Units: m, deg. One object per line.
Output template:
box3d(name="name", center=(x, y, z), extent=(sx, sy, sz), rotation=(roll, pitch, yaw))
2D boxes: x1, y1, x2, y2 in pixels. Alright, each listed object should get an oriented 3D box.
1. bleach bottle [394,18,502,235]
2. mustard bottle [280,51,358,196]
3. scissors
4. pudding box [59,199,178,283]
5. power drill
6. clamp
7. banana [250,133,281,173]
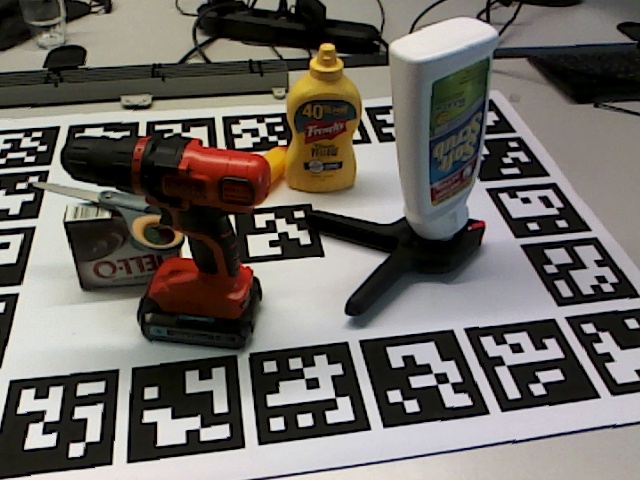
box3d(name="bleach bottle", center=(0.132, -0.097, 0.665), extent=(0.102, 0.250, 0.068), rotation=(-24, 44, -17))
box3d(name="mustard bottle", center=(-0.001, -0.146, 0.783), extent=(0.096, 0.191, 0.058), rotation=(5, 42, 1))
box3d(name="scissors", center=(-0.224, -0.051, 0.639), extent=(0.203, 0.016, 0.088), rotation=(15, 47, 7))
box3d(name="pudding box", center=(-0.217, 0.000, 0.678), extent=(0.114, 0.090, 0.039), rotation=(-2, 35, -6))
box3d(name="power drill", center=(-0.141, -0.006, 0.574), extent=(0.185, 0.186, 0.057), rotation=(2, 35, 3))
box3d(name="clamp", center=(0.096, -0.006, 0.718), extent=(0.202, 0.036, 0.166), rotation=(-9, 45, -14))
box3d(name="banana", center=(-0.112, -0.097, 0.822), extent=(0.075, 0.038, 0.196), rotation=(17, 41, 40))
